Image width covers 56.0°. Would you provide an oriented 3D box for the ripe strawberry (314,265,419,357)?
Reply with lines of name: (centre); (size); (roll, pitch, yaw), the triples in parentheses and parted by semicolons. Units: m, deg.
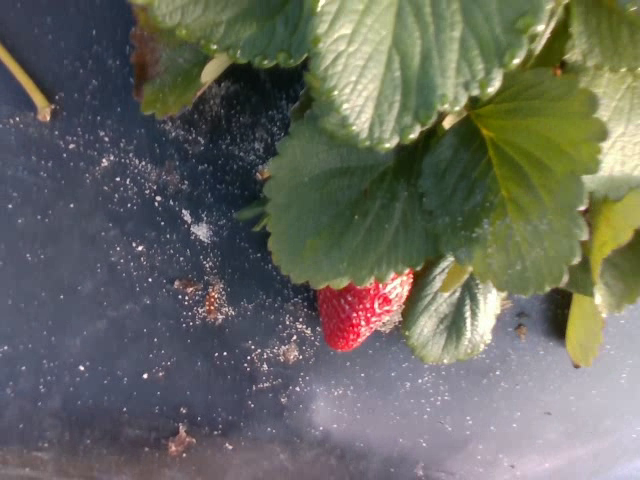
ripe strawberry: (0.009, 0.016, 0.147); (0.029, 0.036, 0.021); (18, 11, -3)
